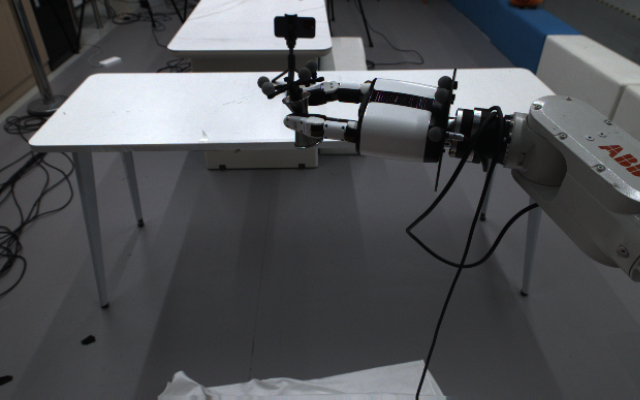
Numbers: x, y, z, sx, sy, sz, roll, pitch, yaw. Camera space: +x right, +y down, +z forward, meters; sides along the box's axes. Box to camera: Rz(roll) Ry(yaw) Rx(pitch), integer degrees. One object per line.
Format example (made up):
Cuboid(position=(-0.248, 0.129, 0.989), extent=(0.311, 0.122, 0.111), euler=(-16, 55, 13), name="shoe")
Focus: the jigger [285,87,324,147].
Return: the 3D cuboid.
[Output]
Cuboid(position=(-0.023, -0.111, 0.674), extent=(0.043, 0.071, 0.043), euler=(-12, 29, 7), name="jigger")
